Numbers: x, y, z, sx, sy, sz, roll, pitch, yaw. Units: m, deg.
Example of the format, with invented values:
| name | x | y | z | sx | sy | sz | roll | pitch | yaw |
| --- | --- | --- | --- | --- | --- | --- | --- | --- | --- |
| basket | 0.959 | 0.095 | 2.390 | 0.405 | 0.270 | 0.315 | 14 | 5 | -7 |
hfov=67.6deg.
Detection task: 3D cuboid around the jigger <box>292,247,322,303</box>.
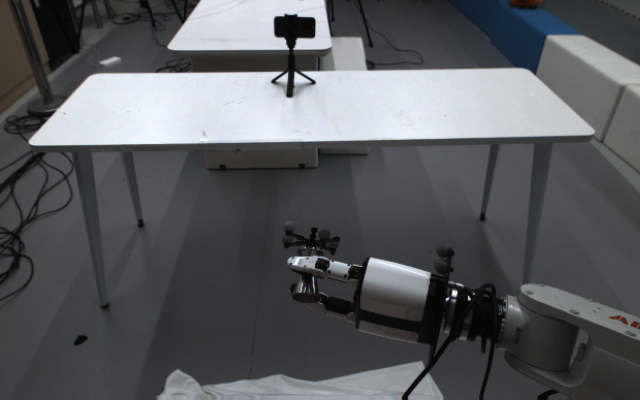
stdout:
| name | x | y | z | sx | sy | sz | roll | pitch | yaw |
| --- | --- | --- | --- | --- | --- | --- | --- | --- | --- |
| jigger | -0.018 | 0.103 | 0.676 | 0.043 | 0.043 | 0.071 | 4 | 60 | 3 |
